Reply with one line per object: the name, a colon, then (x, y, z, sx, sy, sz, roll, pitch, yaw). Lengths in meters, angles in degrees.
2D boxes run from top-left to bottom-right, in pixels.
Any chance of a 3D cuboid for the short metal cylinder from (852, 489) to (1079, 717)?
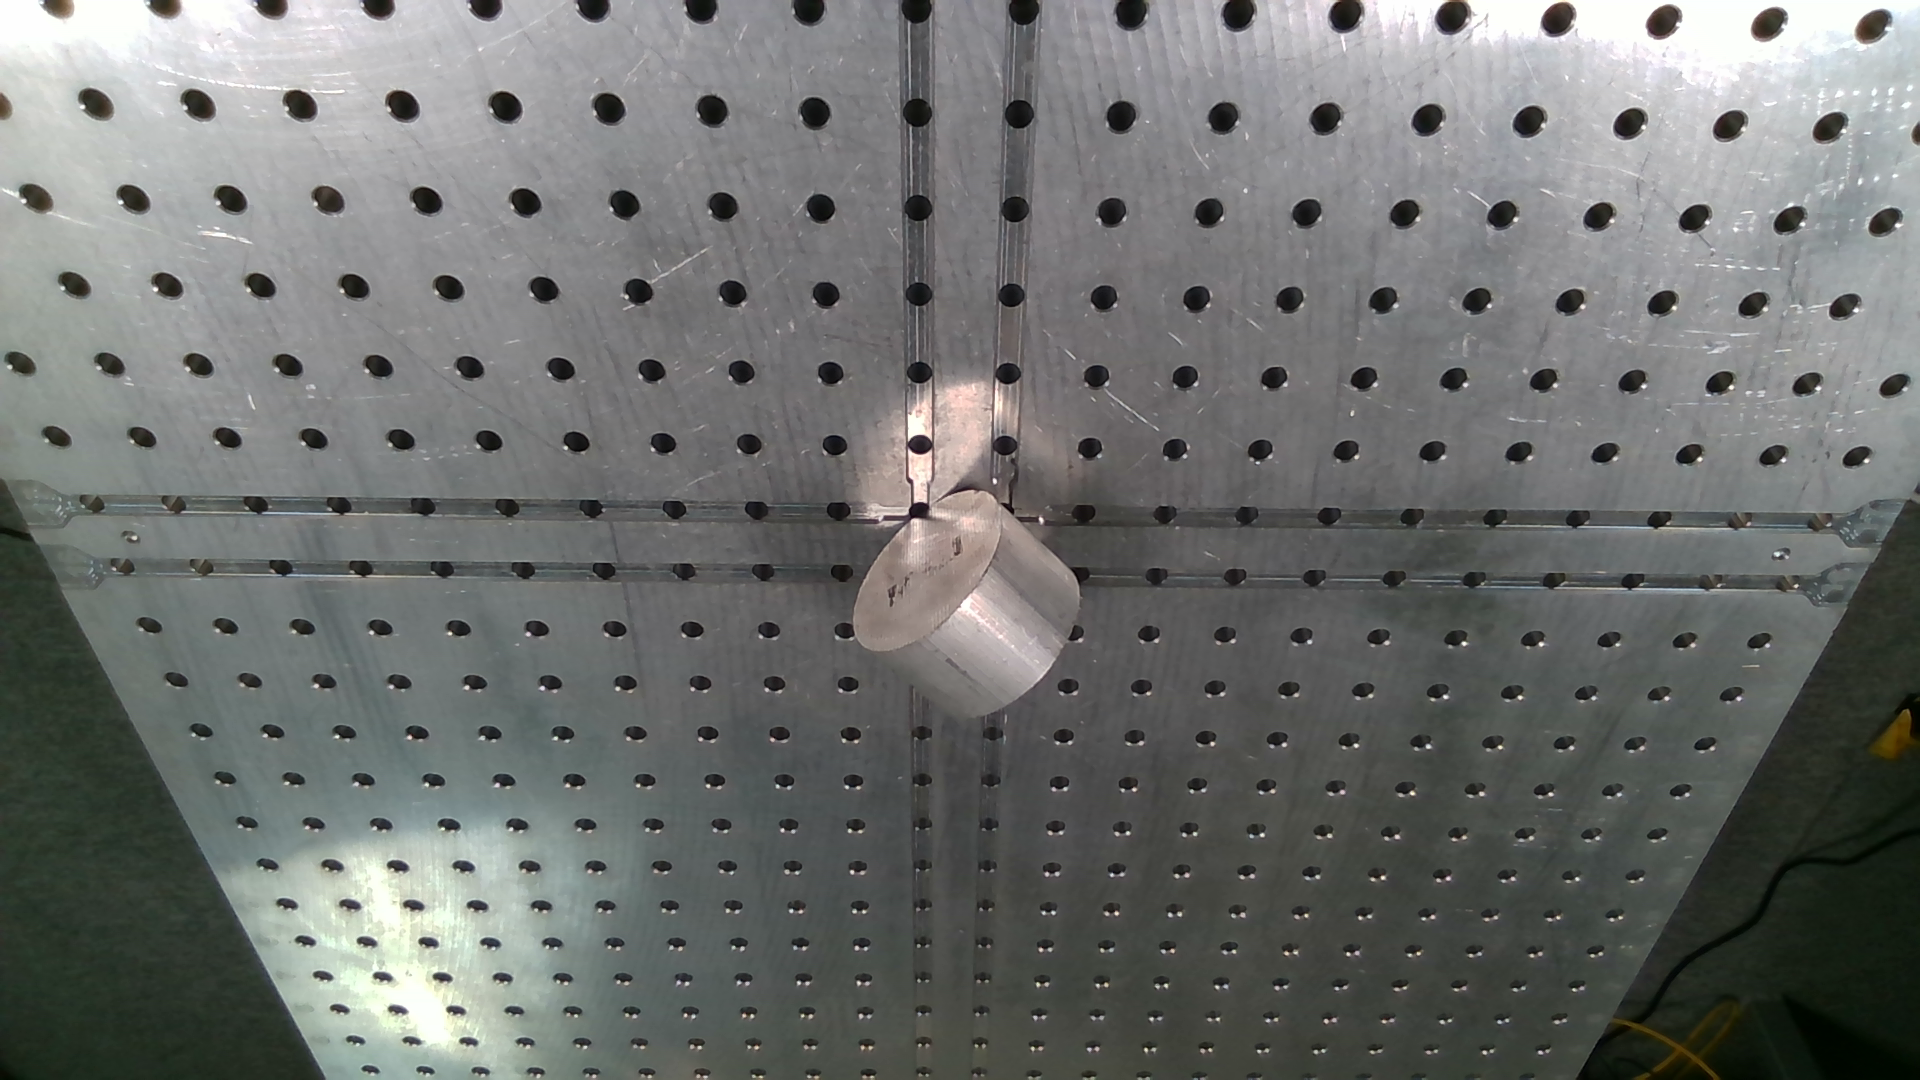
short metal cylinder: (0.002, 0.026, 0.567, 0.080, 0.080, 0.050, -33, 123, 25)
